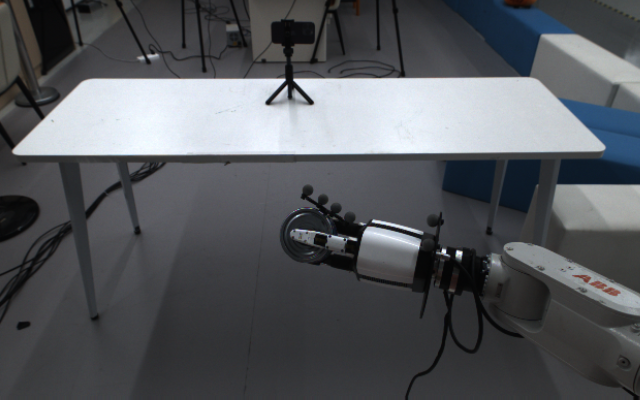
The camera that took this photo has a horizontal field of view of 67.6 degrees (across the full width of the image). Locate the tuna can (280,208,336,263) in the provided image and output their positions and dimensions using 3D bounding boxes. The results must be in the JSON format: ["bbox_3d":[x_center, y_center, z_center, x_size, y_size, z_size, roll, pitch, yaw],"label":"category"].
[{"bbox_3d":[-0.017,0.054,0.745,0.085,0.085,0.034,13,-5,15],"label":"tuna can"}]
